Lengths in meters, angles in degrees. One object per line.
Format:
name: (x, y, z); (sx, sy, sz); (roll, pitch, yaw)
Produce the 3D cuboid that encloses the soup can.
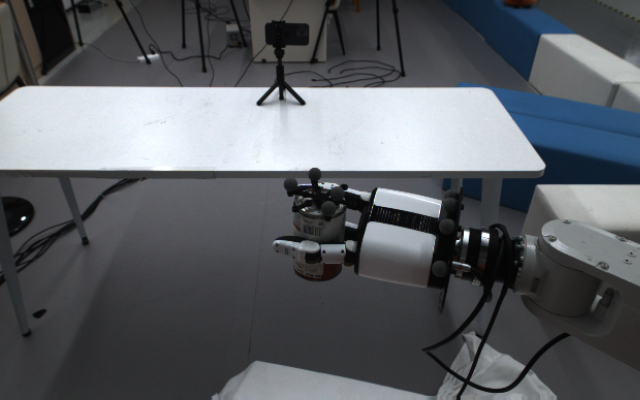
soup can: (0.000, 0.045, 0.621); (0.067, 0.101, 0.067); (2, 32, -1)
